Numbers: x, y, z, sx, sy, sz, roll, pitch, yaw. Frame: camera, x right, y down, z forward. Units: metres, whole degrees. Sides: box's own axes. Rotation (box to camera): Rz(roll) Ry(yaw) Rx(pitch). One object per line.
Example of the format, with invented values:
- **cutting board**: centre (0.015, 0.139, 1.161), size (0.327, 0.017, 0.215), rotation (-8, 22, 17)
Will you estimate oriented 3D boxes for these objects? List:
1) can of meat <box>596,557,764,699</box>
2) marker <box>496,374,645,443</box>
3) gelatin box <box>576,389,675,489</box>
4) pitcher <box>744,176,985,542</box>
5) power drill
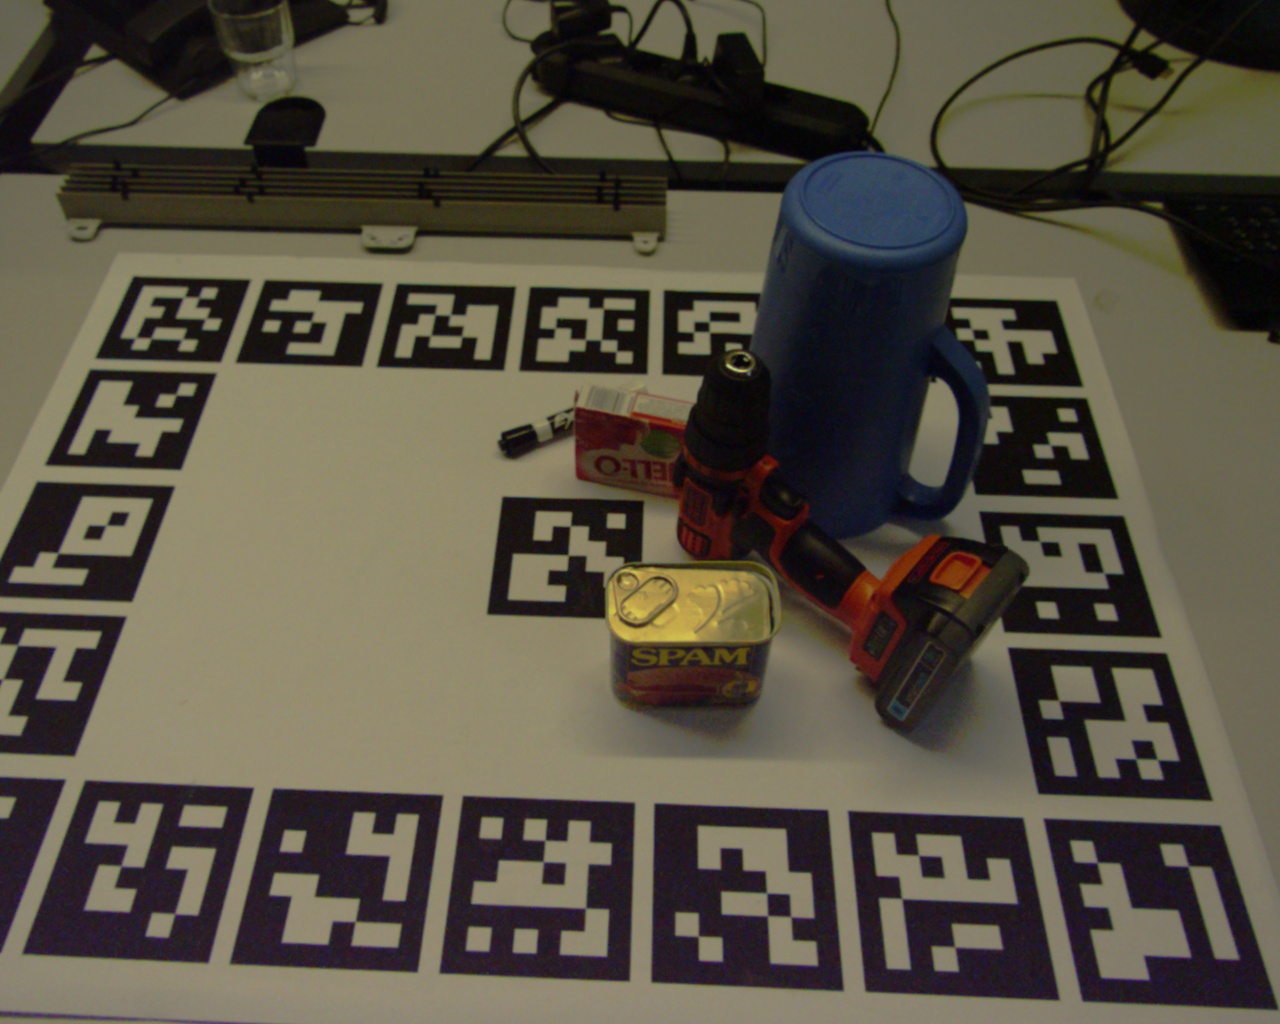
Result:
- **can of meat**: centre (0.023, 0.077, 0.728), size (0.102, 0.083, 0.058), rotation (1, 51, 0)
- **marker**: centre (-0.055, -0.080, 0.888), size (0.120, 0.019, 0.020), rotation (-21, 56, -14)
- **gelatin box**: centre (-0.001, -0.049, 0.835), size (0.089, 0.073, 0.030), rotation (12, 57, 6)
- **pitcher**: centre (0.145, -0.095, 0.772), size (0.191, 0.241, 0.132), rotation (26, 60, 25)
- **power drill**: centre (0.094, -0.001, 0.729), size (0.188, 0.184, 0.057), rotation (34, 62, 16)
